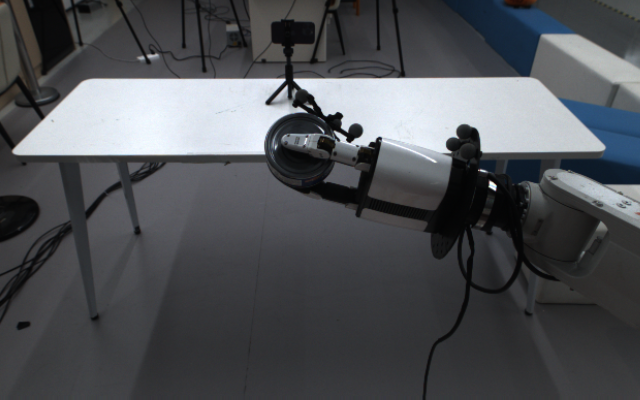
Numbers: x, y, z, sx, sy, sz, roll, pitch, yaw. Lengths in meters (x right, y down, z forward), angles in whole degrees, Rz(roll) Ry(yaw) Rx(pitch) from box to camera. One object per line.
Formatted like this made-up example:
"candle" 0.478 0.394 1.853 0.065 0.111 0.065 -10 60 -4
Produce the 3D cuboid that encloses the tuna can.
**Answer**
"tuna can" -0.021 -0.061 0.577 0.085 0.034 0.085 0 74 0
